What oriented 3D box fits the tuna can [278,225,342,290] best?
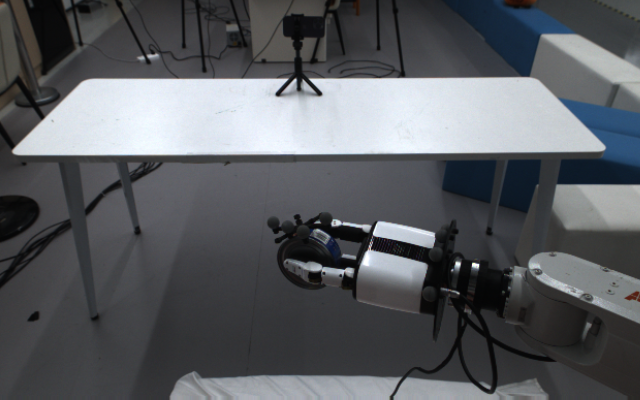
[{"bbox_3d":[-0.012,0.085,0.672,0.085,0.085,0.034,13,28,15],"label":"tuna can"}]
